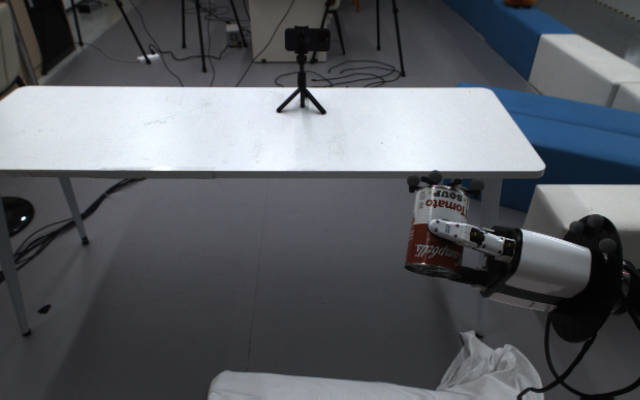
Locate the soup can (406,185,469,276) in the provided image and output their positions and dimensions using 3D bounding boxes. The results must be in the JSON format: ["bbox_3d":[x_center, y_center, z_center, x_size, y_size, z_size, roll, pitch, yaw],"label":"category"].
[{"bbox_3d":[0.148,0.038,0.602,0.067,0.067,0.101,9,74,9],"label":"soup can"}]
